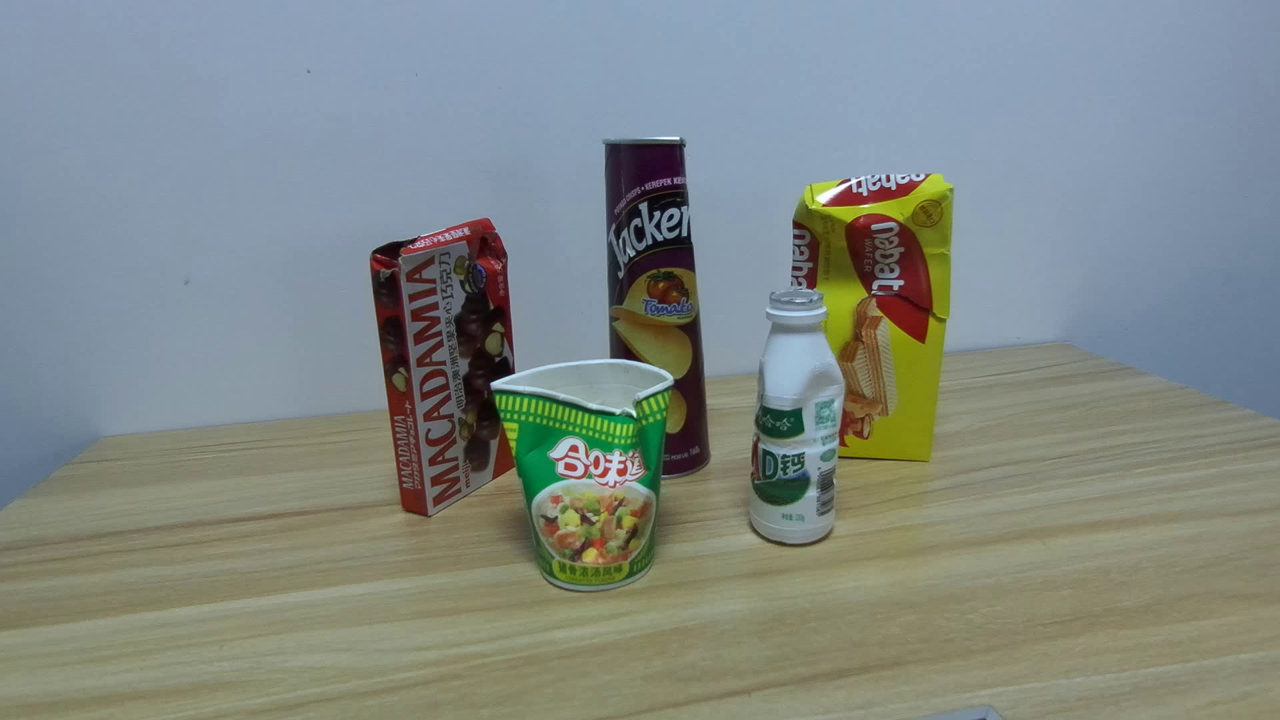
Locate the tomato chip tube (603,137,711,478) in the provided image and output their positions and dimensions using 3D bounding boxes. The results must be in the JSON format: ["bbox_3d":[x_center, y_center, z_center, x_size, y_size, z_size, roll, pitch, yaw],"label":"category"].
[{"bbox_3d":[0.012,-0.037,0.508,0.076,0.235,0.078,4,17,21],"label":"tomato chip tube"}]

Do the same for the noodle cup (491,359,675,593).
[{"bbox_3d":[-0.025,0.063,0.402,0.082,0.122,0.075,1,9,43],"label":"noodle cup"}]

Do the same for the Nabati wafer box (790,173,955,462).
[{"bbox_3d":[0.163,-0.028,0.509,0.107,0.204,0.042,1,20,11],"label":"Nabati wafer box"}]

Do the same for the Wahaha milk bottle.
[{"bbox_3d":[0.089,0.034,0.416,0.055,0.149,0.055,-3,18,1],"label":"Wahaha milk bottle"}]

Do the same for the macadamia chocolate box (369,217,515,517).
[{"bbox_3d":[-0.126,0.003,0.485,0.027,0.187,0.103,12,23,29],"label":"macadamia chocolate box"}]
